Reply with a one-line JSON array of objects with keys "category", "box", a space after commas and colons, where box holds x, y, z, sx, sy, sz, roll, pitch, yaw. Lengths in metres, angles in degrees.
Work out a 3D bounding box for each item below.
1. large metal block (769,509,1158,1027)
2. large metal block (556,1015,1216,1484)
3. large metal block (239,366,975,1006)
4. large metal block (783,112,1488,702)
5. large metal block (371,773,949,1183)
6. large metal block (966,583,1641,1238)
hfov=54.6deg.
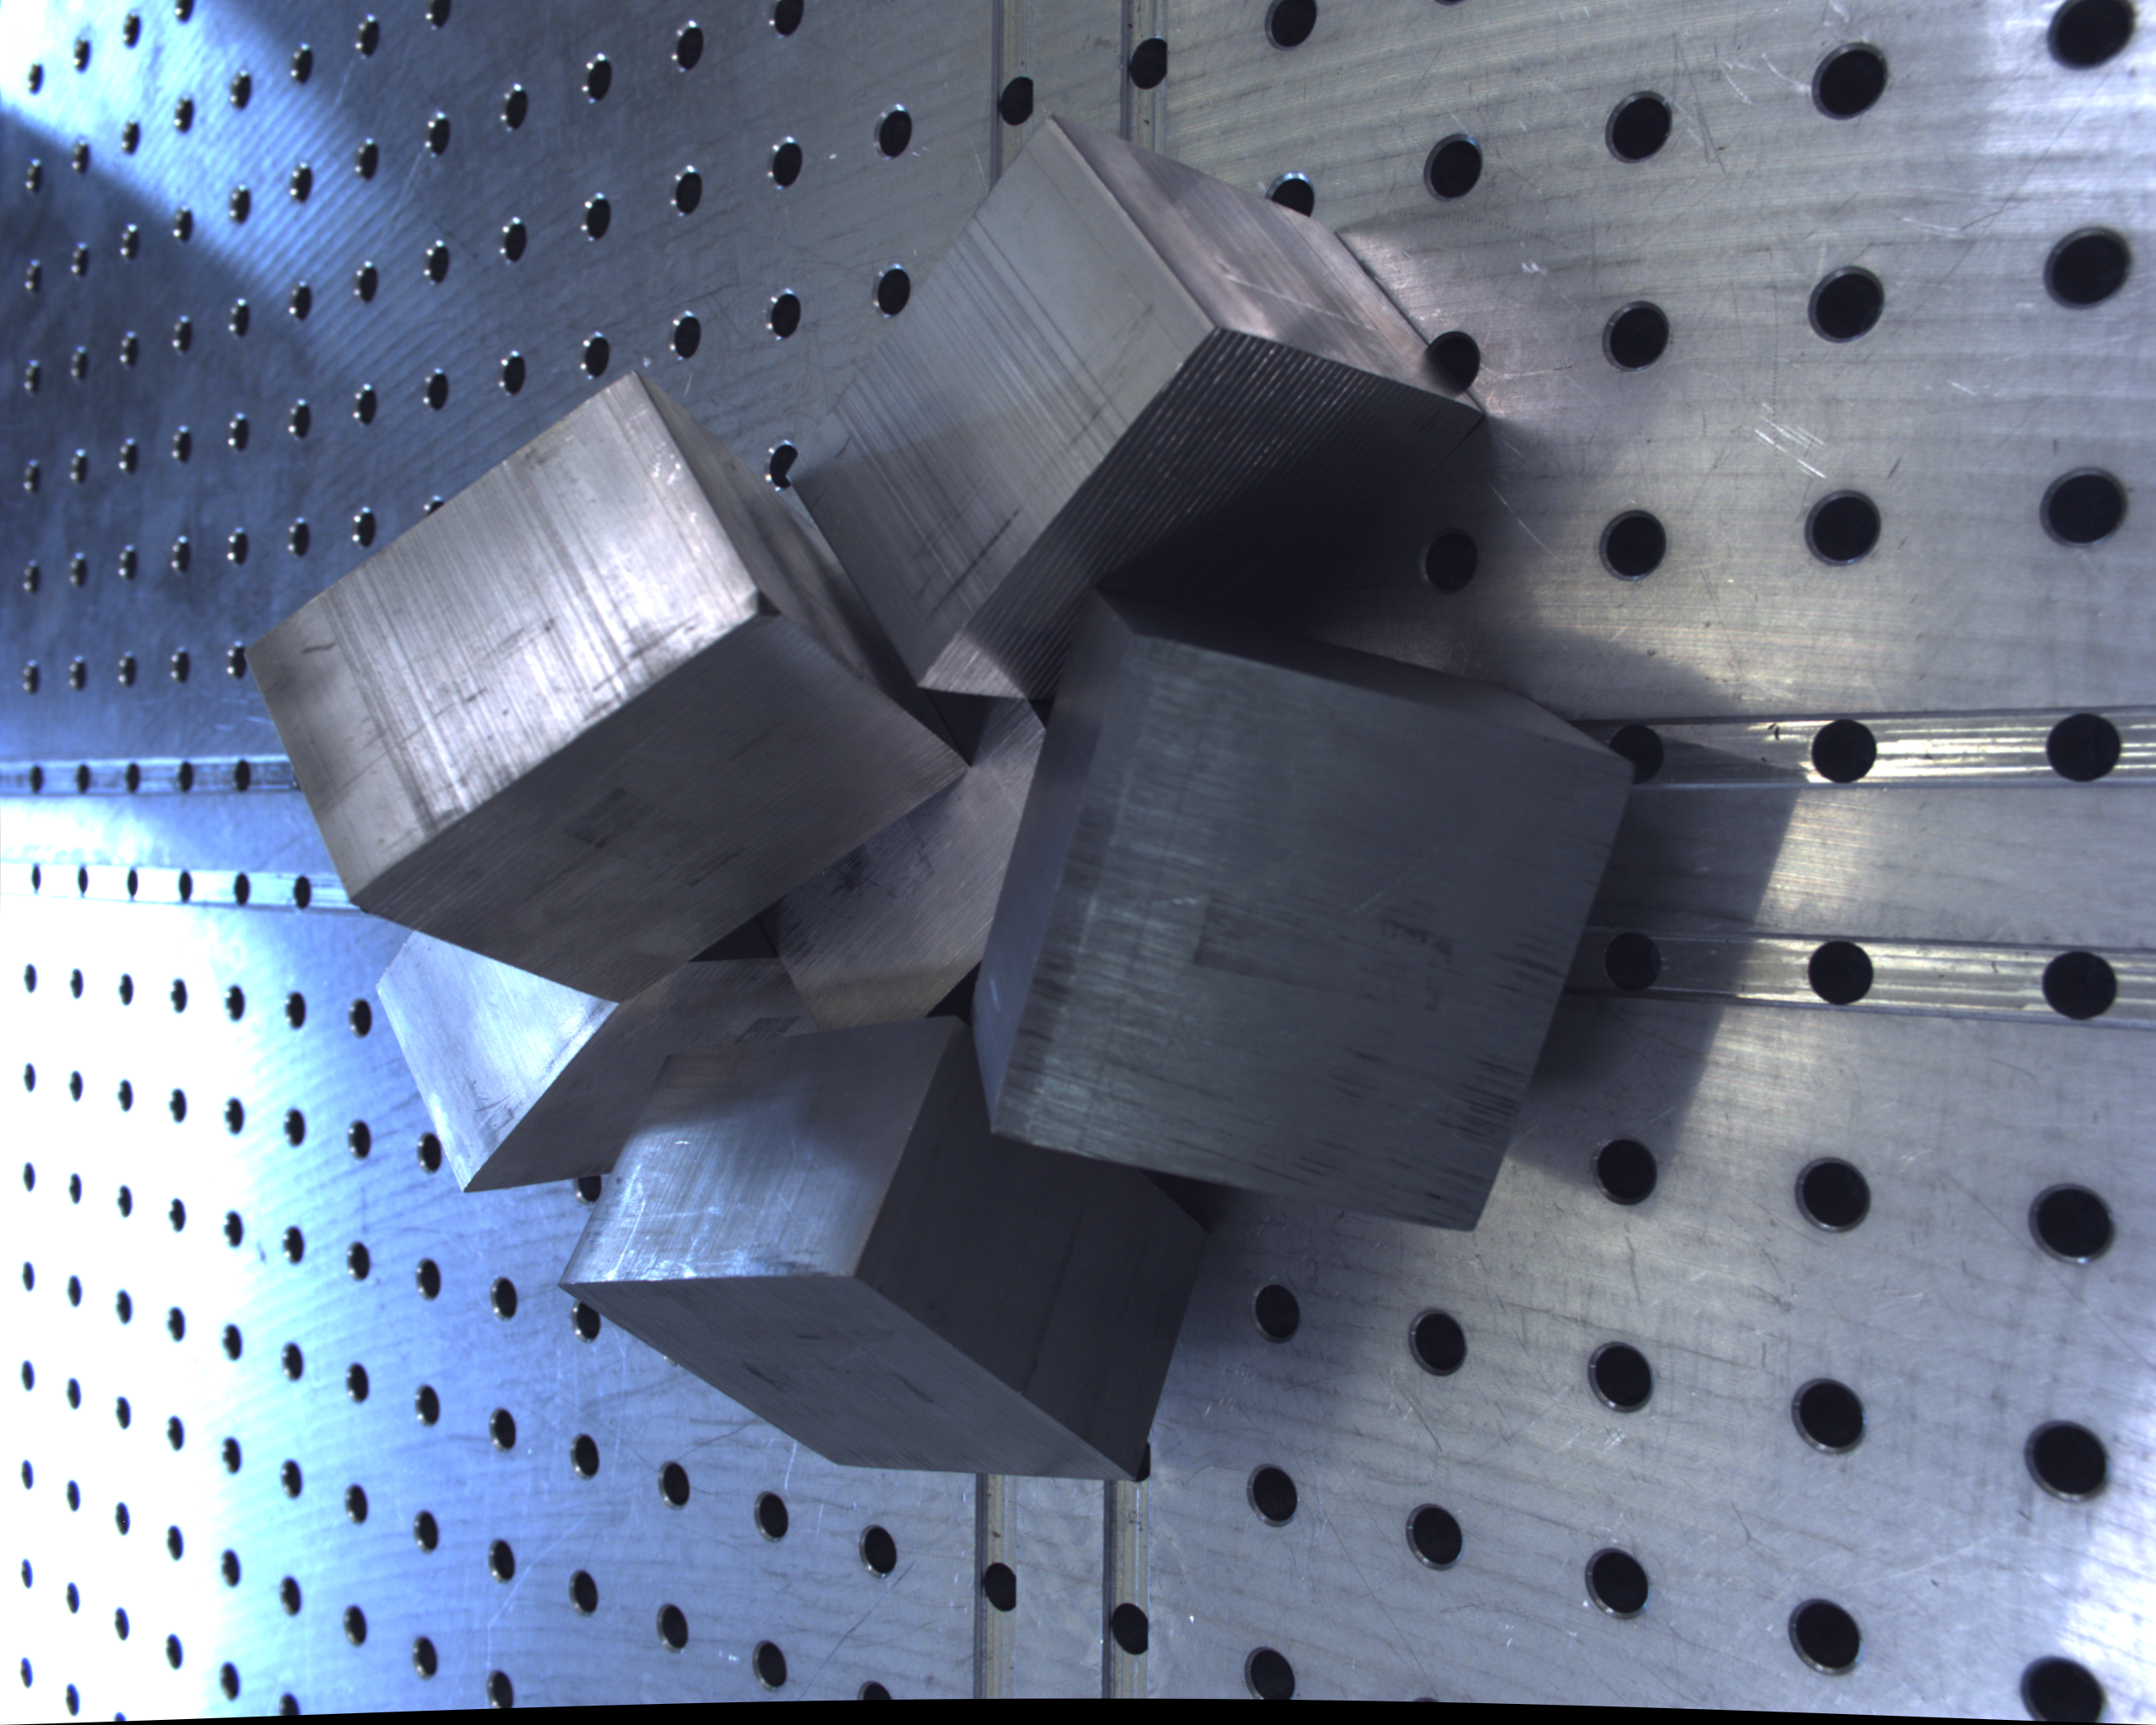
[{"category": "large metal block", "box": [-0.020, -0.012, 0.413, 0.080, 0.050, 0.080, -47, 62, 30]}, {"category": "large metal block", "box": [-0.035, 0.075, 0.394, 0.080, 0.080, 0.050, -11, 47, 39]}, {"category": "large metal block", "box": [-0.077, -0.025, 0.356, 0.080, 0.080, 0.050, -34, 67, 8]}, {"category": "large metal block", "box": [0.010, -0.073, 0.366, 0.080, 0.081, 0.050, -47, 63, 30]}, {"category": "large metal block", "box": [-0.089, 0.021, 0.447, 0.080, 0.081, 0.050, -46, 63, 30]}, {"category": "large metal block", "box": [0.032, 0.007, 0.338, 0.050, 0.080, 0.080, -115, 39, -73]}]
